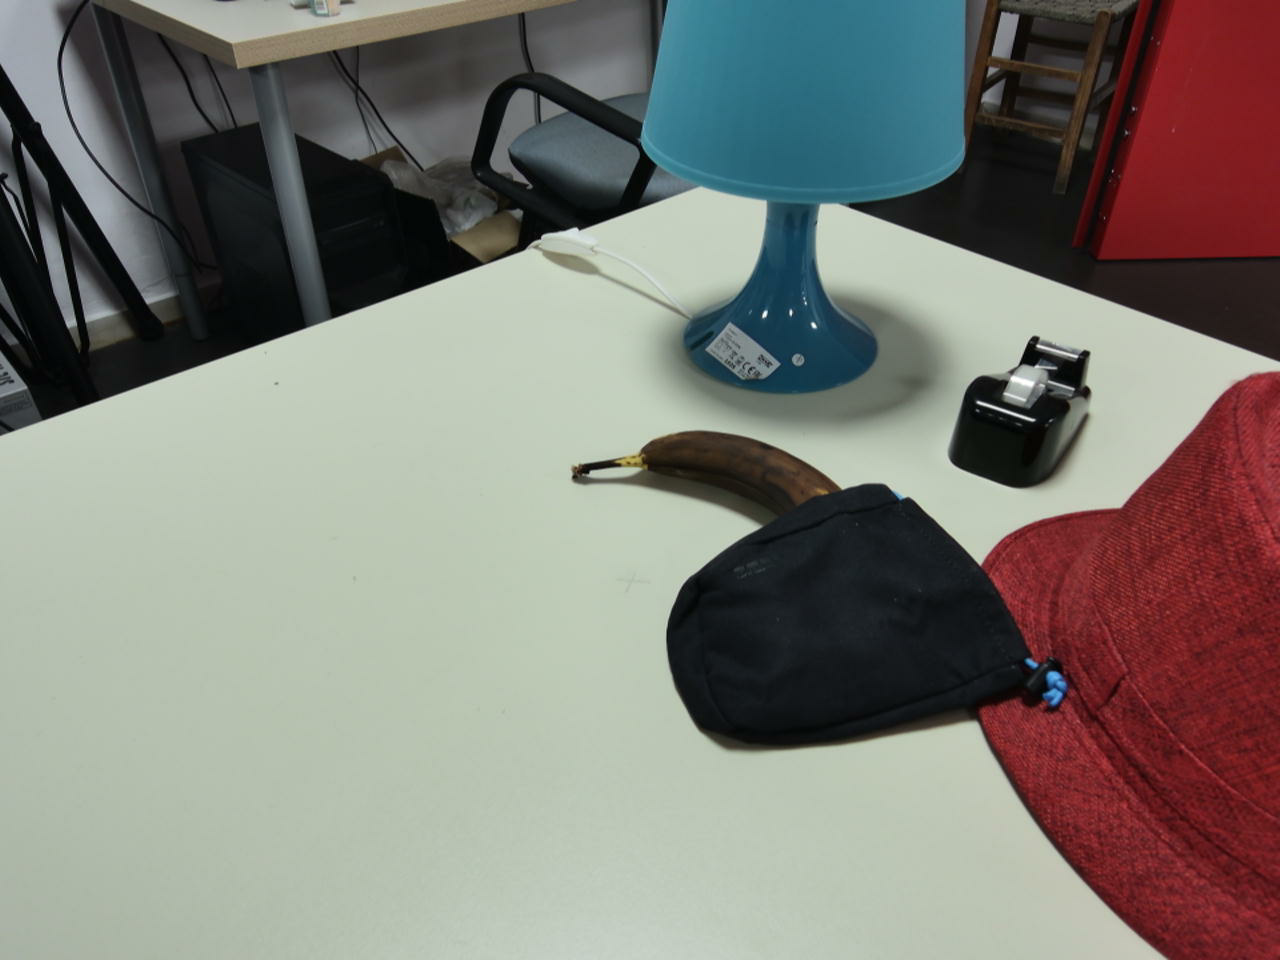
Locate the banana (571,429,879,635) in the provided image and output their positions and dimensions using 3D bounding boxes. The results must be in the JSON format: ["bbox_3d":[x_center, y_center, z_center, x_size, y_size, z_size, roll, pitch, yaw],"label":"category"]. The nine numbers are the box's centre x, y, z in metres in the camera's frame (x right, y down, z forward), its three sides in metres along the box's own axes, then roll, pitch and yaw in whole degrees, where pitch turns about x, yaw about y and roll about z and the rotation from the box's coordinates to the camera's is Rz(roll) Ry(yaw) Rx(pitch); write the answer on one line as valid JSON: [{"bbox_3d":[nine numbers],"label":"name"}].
[{"bbox_3d":[0.055,0.011,0.525,0.091,0.034,0.188,-27,43,-30],"label":"banana"}]
